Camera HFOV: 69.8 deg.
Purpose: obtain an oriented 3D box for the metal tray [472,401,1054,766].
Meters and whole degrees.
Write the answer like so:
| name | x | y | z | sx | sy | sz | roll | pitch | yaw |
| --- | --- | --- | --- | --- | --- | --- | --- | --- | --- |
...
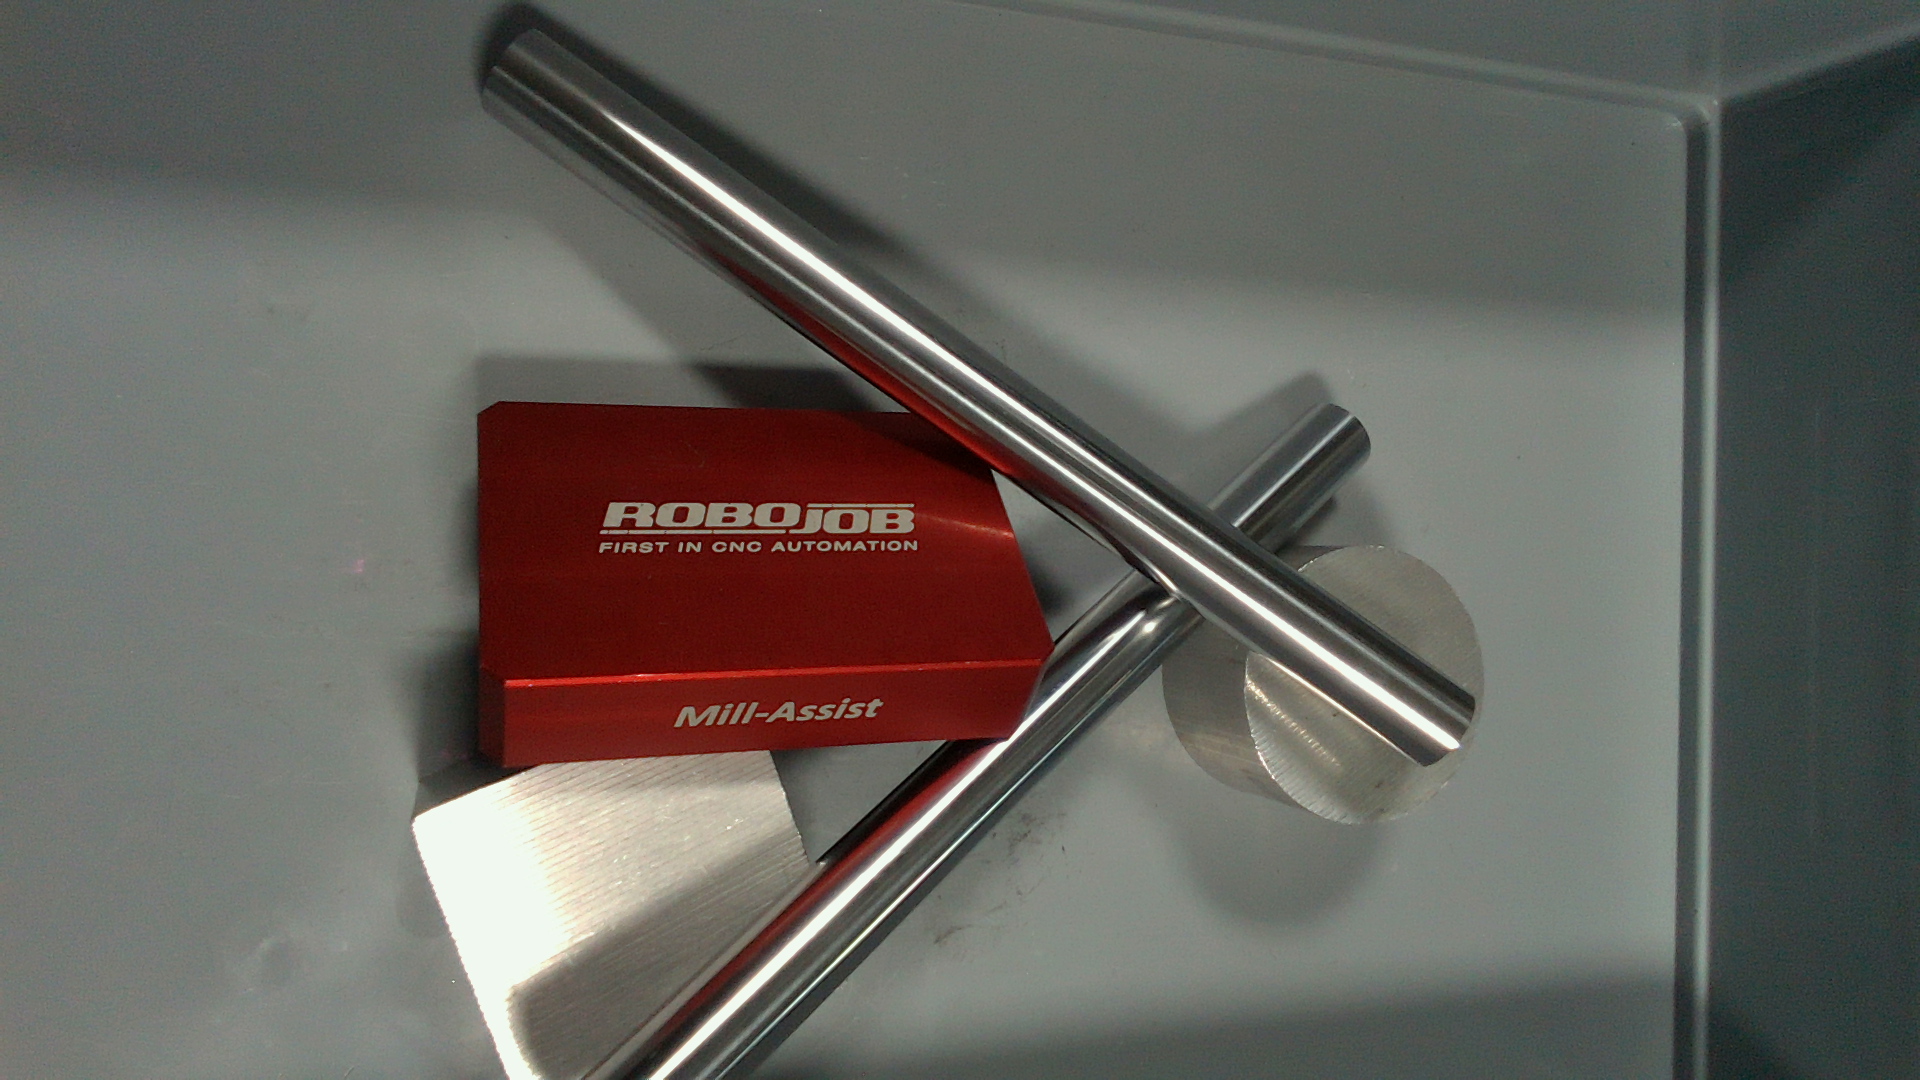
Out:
| name | x | y | z | sx | sy | sz | roll | pitch | yaw |
| --- | --- | --- | --- | --- | --- | --- | --- | --- | --- |
| metal tray | -0.051 | 0.008 | 0.342 | 0.130 | 0.030 | 0.090 | 0 | 46 | -19 |

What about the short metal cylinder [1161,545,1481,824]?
| name | x | y | z | sx | sy | sz | roll | pitch | yaw |
| --- | --- | --- | --- | --- | --- | --- | --- | --- | --- |
| short metal cylinder | 0.109 | 0.041 | 0.418 | 0.080 | 0.050 | 0.080 | 0 | 90 | -20 |

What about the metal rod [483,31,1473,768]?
| name | x | y | z | sx | sy | sz | roll | pitch | yaw |
| --- | --- | --- | --- | --- | --- | --- | --- | --- | --- |
| metal rod | 0.008 | -0.034 | 0.364 | 0.300 | 0.025 | 0.025 | 35 | 79 | -4 |

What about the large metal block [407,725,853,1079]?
| name | x | y | z | sx | sy | sz | roll | pitch | yaw |
| --- | --- | --- | --- | --- | --- | --- | --- | --- | --- |
| large metal block | -0.083 | 0.087 | 0.346 | 0.080 | 0.050 | 0.080 | -20 | 97 | -19 |

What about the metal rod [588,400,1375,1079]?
| name | x | y | z | sx | sy | sz | roll | pitch | yaw |
| --- | --- | --- | --- | --- | --- | --- | --- | --- | --- |
| metal rod | 0.019 | 0.050 | 0.360 | 0.301 | 0.025 | 0.025 | -40 | 103 | -30 |
